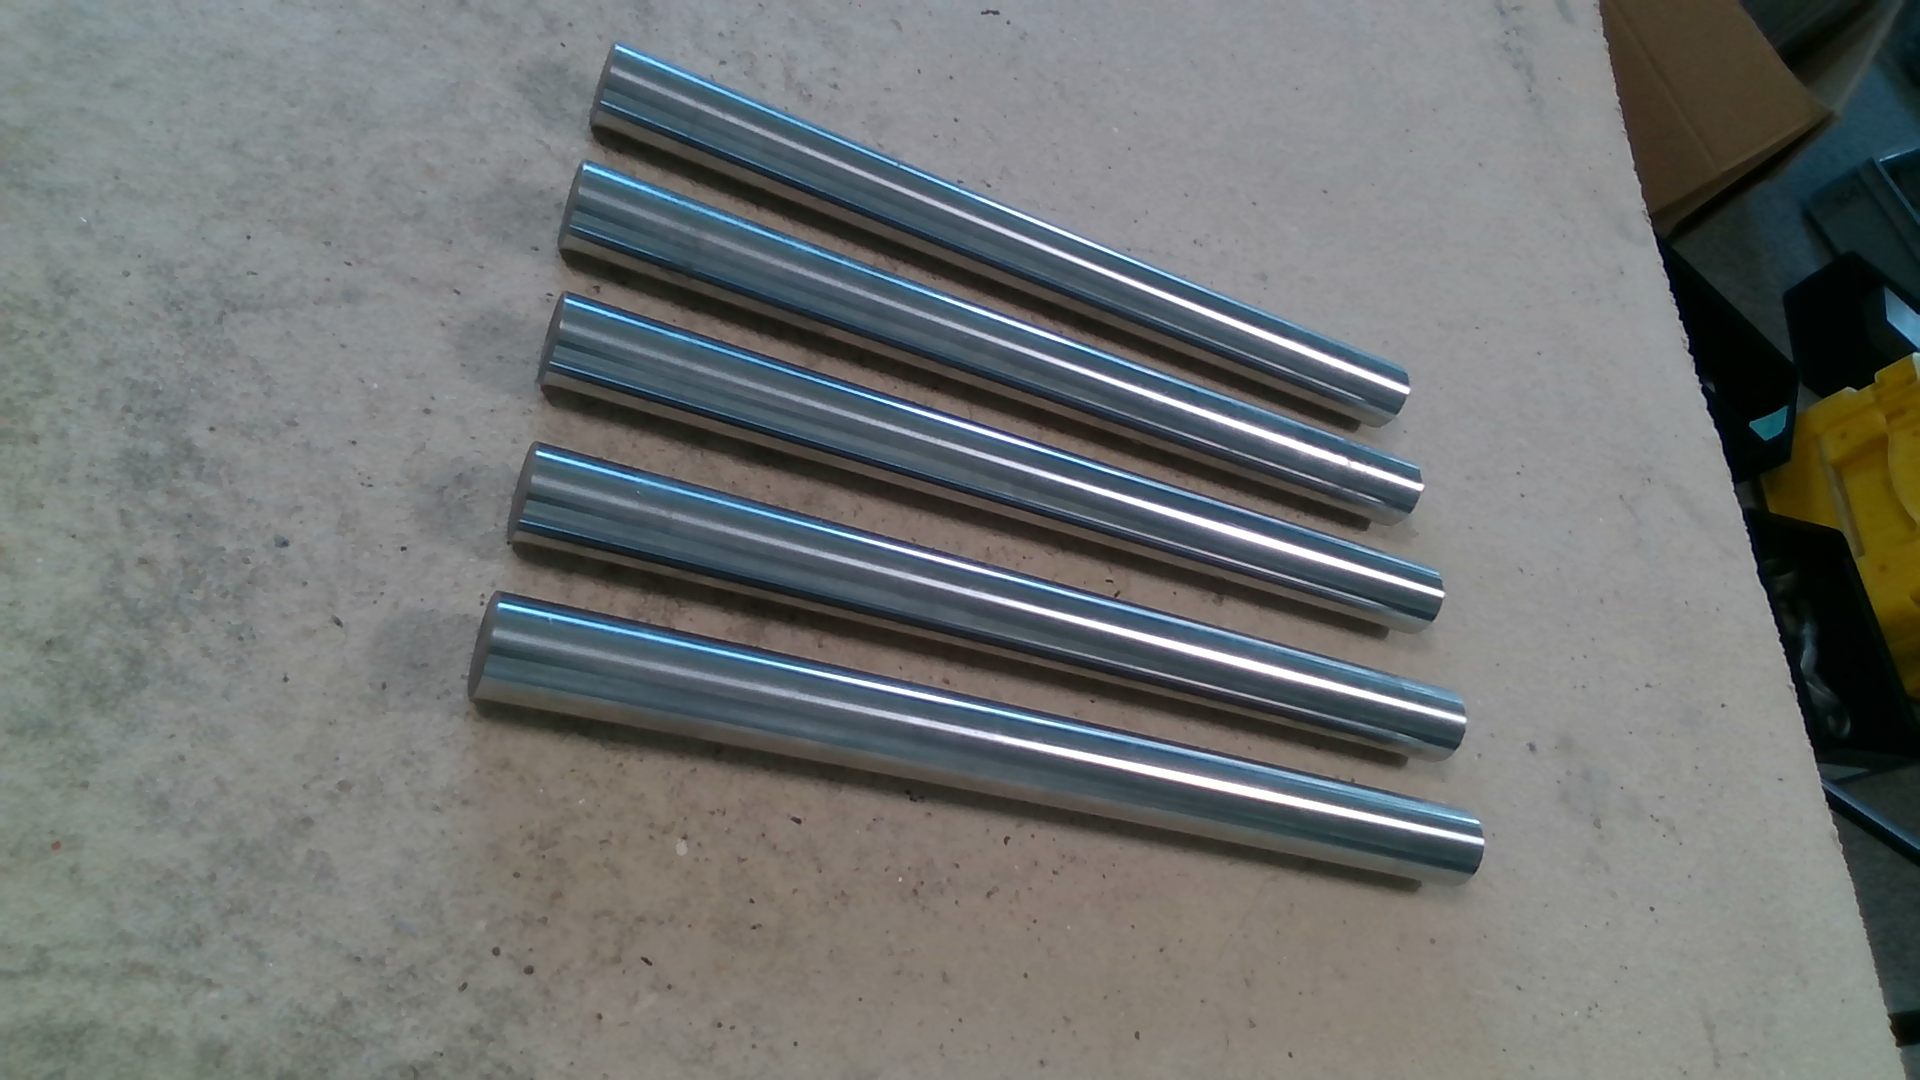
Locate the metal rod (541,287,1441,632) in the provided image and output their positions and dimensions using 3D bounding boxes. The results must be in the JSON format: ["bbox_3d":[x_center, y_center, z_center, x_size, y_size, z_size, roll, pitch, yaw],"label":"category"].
[{"bbox_3d":[0.026,-0.017,0.418,0.300,0.025,0.025,16,58,-24],"label":"metal rod"}]

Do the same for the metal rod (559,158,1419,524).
[{"bbox_3d":[0.026,-0.055,0.438,0.300,0.025,0.025,16,58,-24],"label":"metal rod"}]

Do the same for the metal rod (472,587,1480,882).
[{"bbox_3d":[0.024,0.060,0.376,0.300,0.025,0.025,16,58,-24],"label":"metal rod"}]

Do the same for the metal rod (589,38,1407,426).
[{"bbox_3d":[0.028,-0.094,0.459,0.300,0.025,0.025,17,58,-24],"label":"metal rod"}]

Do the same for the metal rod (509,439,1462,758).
[{"bbox_3d":[0.026,0.024,0.396,0.300,0.025,0.025,16,58,-24],"label":"metal rod"}]
